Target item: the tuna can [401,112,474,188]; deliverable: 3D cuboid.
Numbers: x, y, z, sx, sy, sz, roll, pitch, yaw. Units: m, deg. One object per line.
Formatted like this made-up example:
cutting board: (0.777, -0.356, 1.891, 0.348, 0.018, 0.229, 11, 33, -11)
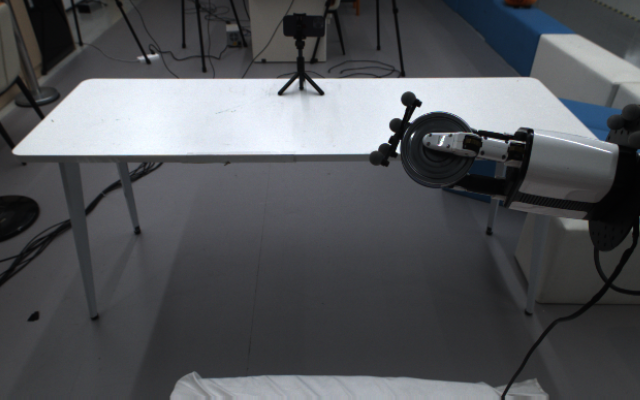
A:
tuna can: (0.139, -0.060, 0.564, 0.085, 0.085, 0.034, 8, -5, 9)
